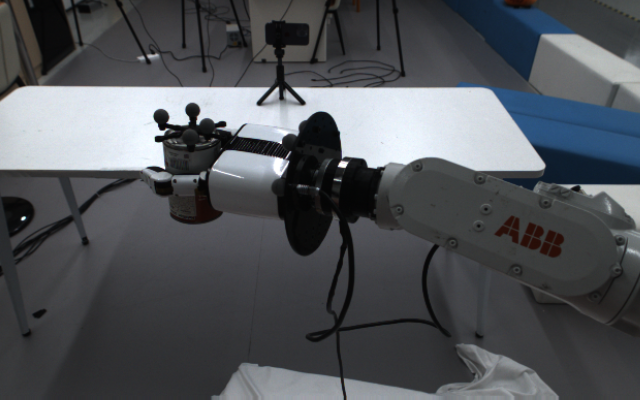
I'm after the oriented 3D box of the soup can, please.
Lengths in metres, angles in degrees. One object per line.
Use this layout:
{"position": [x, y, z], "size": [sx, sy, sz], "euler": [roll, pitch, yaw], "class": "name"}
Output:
{"position": [-0.150, -0.030, 0.584], "size": [0.067, 0.101, 0.067], "euler": [4, 31, -2], "class": "soup can"}
